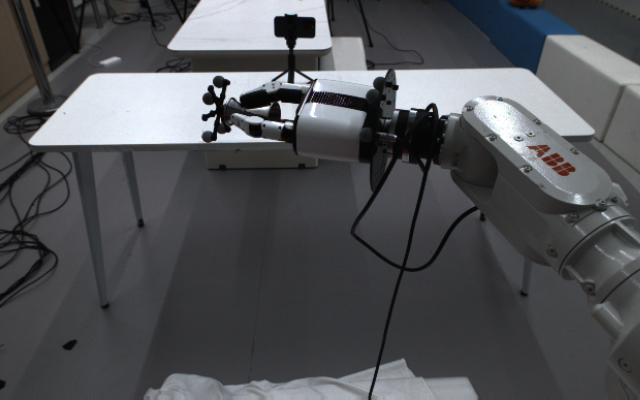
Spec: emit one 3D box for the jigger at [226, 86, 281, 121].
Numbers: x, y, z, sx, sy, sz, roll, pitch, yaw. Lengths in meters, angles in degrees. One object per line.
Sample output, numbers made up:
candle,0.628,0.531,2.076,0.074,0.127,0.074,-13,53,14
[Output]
jigger,-0.093,-0.122,0.675,0.071,0.043,0.043,10,36,15
